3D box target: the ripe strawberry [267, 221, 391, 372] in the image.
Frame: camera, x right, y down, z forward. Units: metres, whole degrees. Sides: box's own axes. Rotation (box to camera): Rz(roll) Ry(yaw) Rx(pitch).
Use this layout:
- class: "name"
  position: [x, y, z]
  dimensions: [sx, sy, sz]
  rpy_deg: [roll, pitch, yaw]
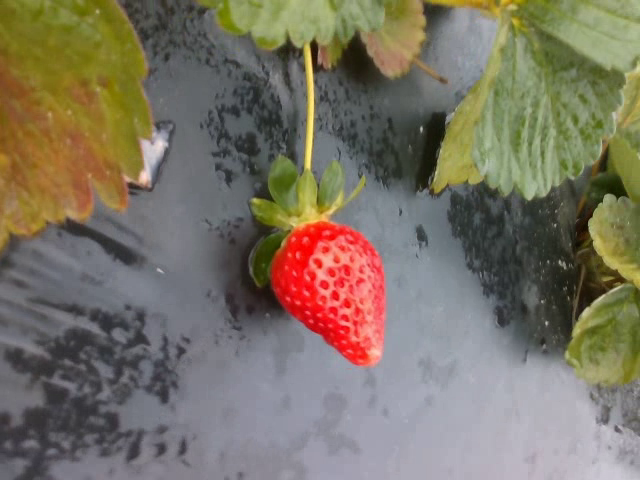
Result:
- class: "ripe strawberry"
  position: [0.006, 0.017, 0.203]
  dimensions: [0.045, 0.054, 0.048]
  rpy_deg: [-4, -21, -24]
